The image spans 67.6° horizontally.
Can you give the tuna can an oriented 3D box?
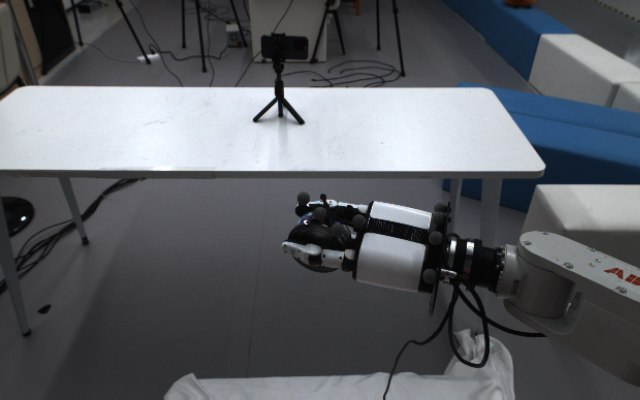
[{"bbox_3d":[0.003,0.057,0.677,0.085,0.085,0.034,12,33,14],"label":"tuna can"}]
